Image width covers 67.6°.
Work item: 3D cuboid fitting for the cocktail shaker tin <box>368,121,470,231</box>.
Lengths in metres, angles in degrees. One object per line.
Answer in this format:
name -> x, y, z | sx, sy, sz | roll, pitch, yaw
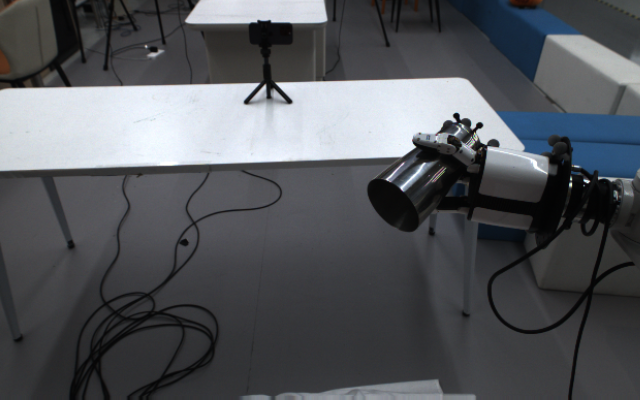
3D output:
cocktail shaker tin -> 0.159, -0.046, 0.705 | 0.170, 0.093, 0.093 | -38, 50, -24
